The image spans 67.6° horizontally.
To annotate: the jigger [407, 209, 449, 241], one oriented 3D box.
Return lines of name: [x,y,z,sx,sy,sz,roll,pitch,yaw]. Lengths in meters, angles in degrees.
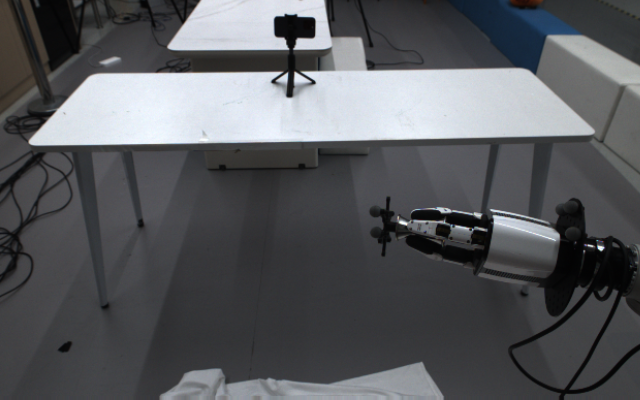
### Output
jigger: [0.153,0.037,0.700,0.071,0.043,0.043,3,34,18]
